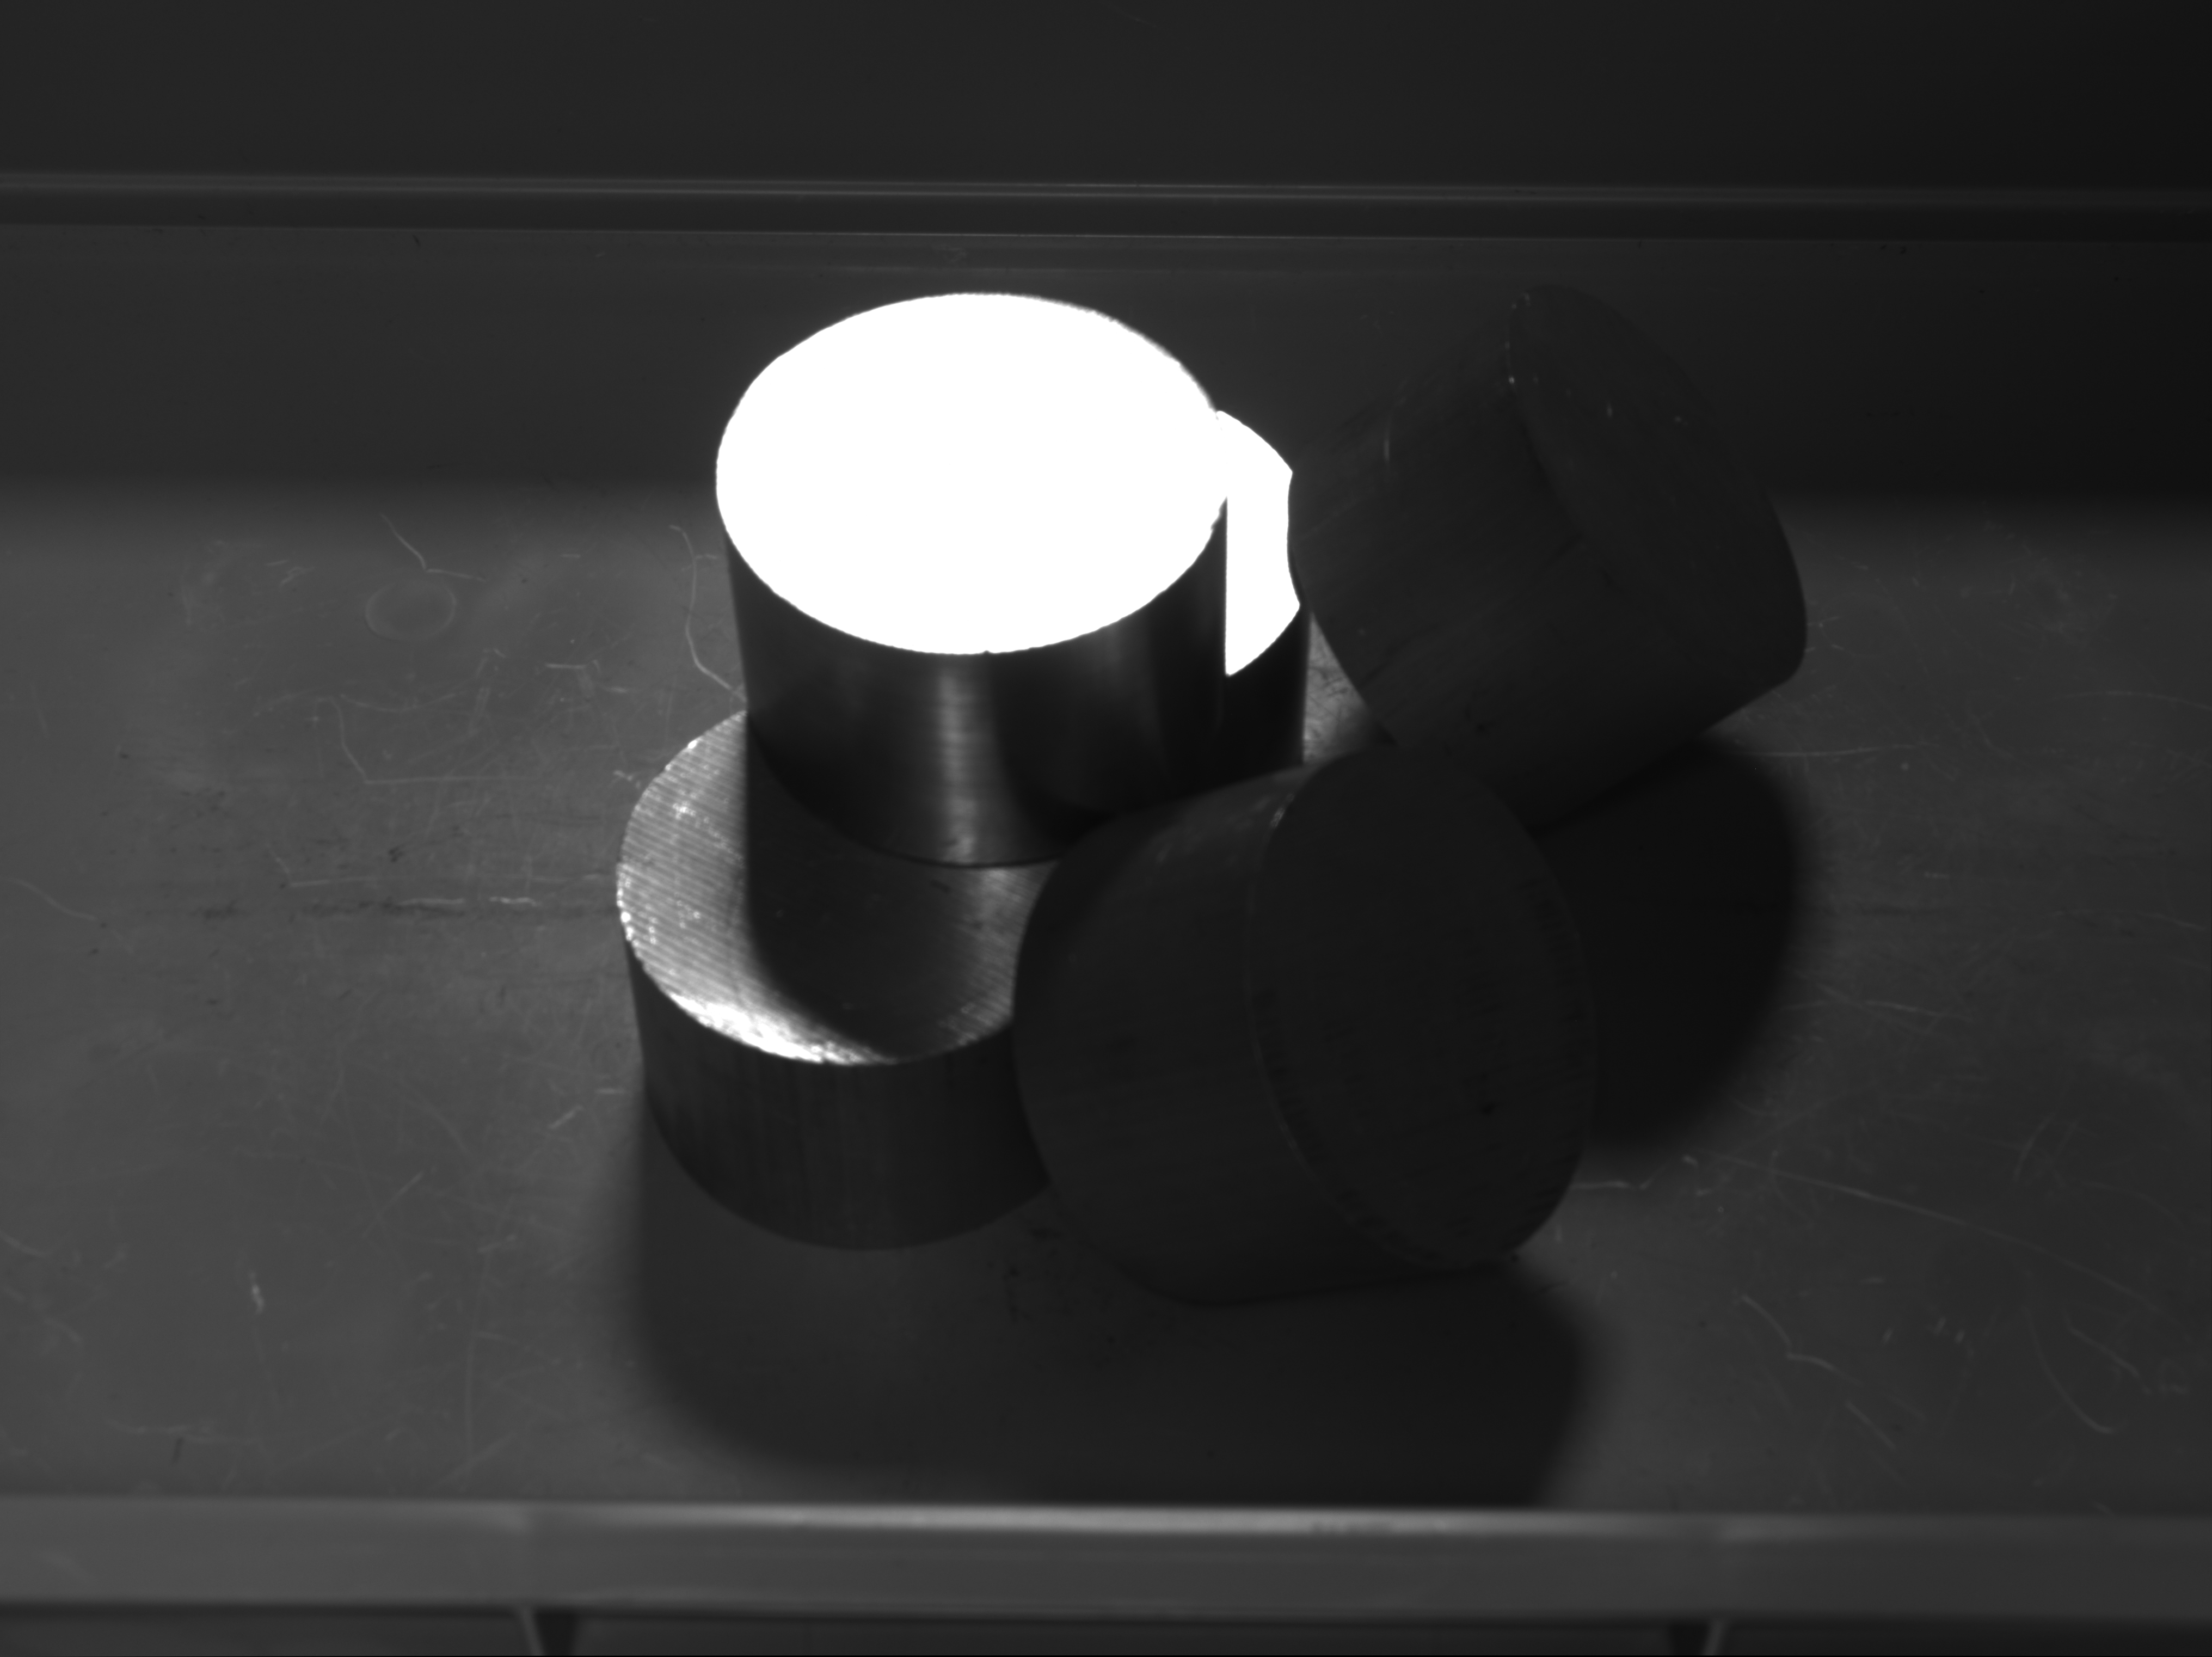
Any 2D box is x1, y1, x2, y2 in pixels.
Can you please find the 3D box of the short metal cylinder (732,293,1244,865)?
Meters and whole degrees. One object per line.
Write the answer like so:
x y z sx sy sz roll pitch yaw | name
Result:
-0.018 -0.041 0.592 0.080 0.050 0.080 0 50 0 | short metal cylinder

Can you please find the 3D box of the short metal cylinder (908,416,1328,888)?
-0.001 -0.033 0.652 0.080 0.050 0.080 0 50 0 | short metal cylinder

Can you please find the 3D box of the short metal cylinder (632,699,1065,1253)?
-0.036 0.023 0.606 0.080 0.050 0.080 0 50 0 | short metal cylinder

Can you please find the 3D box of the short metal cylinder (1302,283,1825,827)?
0.080 -0.047 0.637 0.080 0.050 0.080 33 39 -31 | short metal cylinder

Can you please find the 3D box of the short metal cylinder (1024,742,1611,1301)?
0.034 0.031 0.570 0.050 0.080 0.080 -15 35 44 | short metal cylinder
